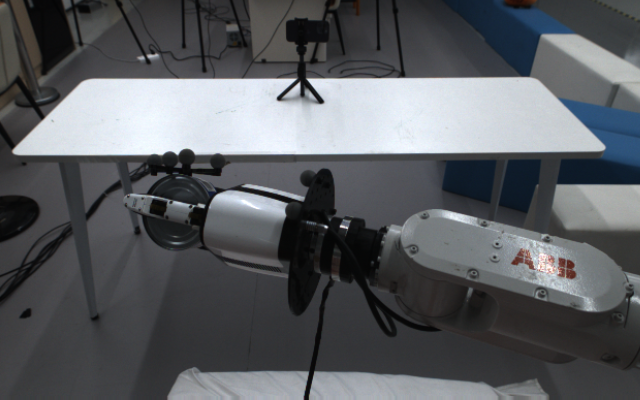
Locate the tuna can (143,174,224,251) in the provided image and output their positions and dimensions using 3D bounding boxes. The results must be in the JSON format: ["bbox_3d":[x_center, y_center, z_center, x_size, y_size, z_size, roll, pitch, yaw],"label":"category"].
[{"bbox_3d":[-0.154,0.015,0.551,0.085,0.085,0.034,12,-1,13],"label":"tuna can"}]
